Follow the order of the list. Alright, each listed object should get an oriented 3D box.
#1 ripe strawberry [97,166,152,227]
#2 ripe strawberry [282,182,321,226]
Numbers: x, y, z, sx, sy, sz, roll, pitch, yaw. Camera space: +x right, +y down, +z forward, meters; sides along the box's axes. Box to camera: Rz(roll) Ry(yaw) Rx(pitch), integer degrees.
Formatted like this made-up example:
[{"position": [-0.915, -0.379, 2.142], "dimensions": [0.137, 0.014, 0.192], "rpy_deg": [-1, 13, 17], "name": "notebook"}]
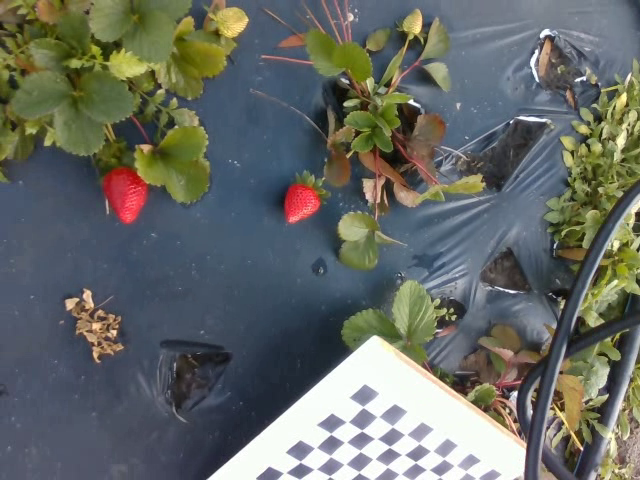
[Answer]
[{"position": [-0.168, -0.034, 0.480], "dimensions": [0.046, 0.050, 0.050], "rpy_deg": [-29, -45, 27], "name": "ripe strawberry"}, {"position": [-0.021, -0.030, 0.536], "dimensions": [0.041, 0.052, 0.045], "rpy_deg": [10, -37, 31], "name": "ripe strawberry"}]
